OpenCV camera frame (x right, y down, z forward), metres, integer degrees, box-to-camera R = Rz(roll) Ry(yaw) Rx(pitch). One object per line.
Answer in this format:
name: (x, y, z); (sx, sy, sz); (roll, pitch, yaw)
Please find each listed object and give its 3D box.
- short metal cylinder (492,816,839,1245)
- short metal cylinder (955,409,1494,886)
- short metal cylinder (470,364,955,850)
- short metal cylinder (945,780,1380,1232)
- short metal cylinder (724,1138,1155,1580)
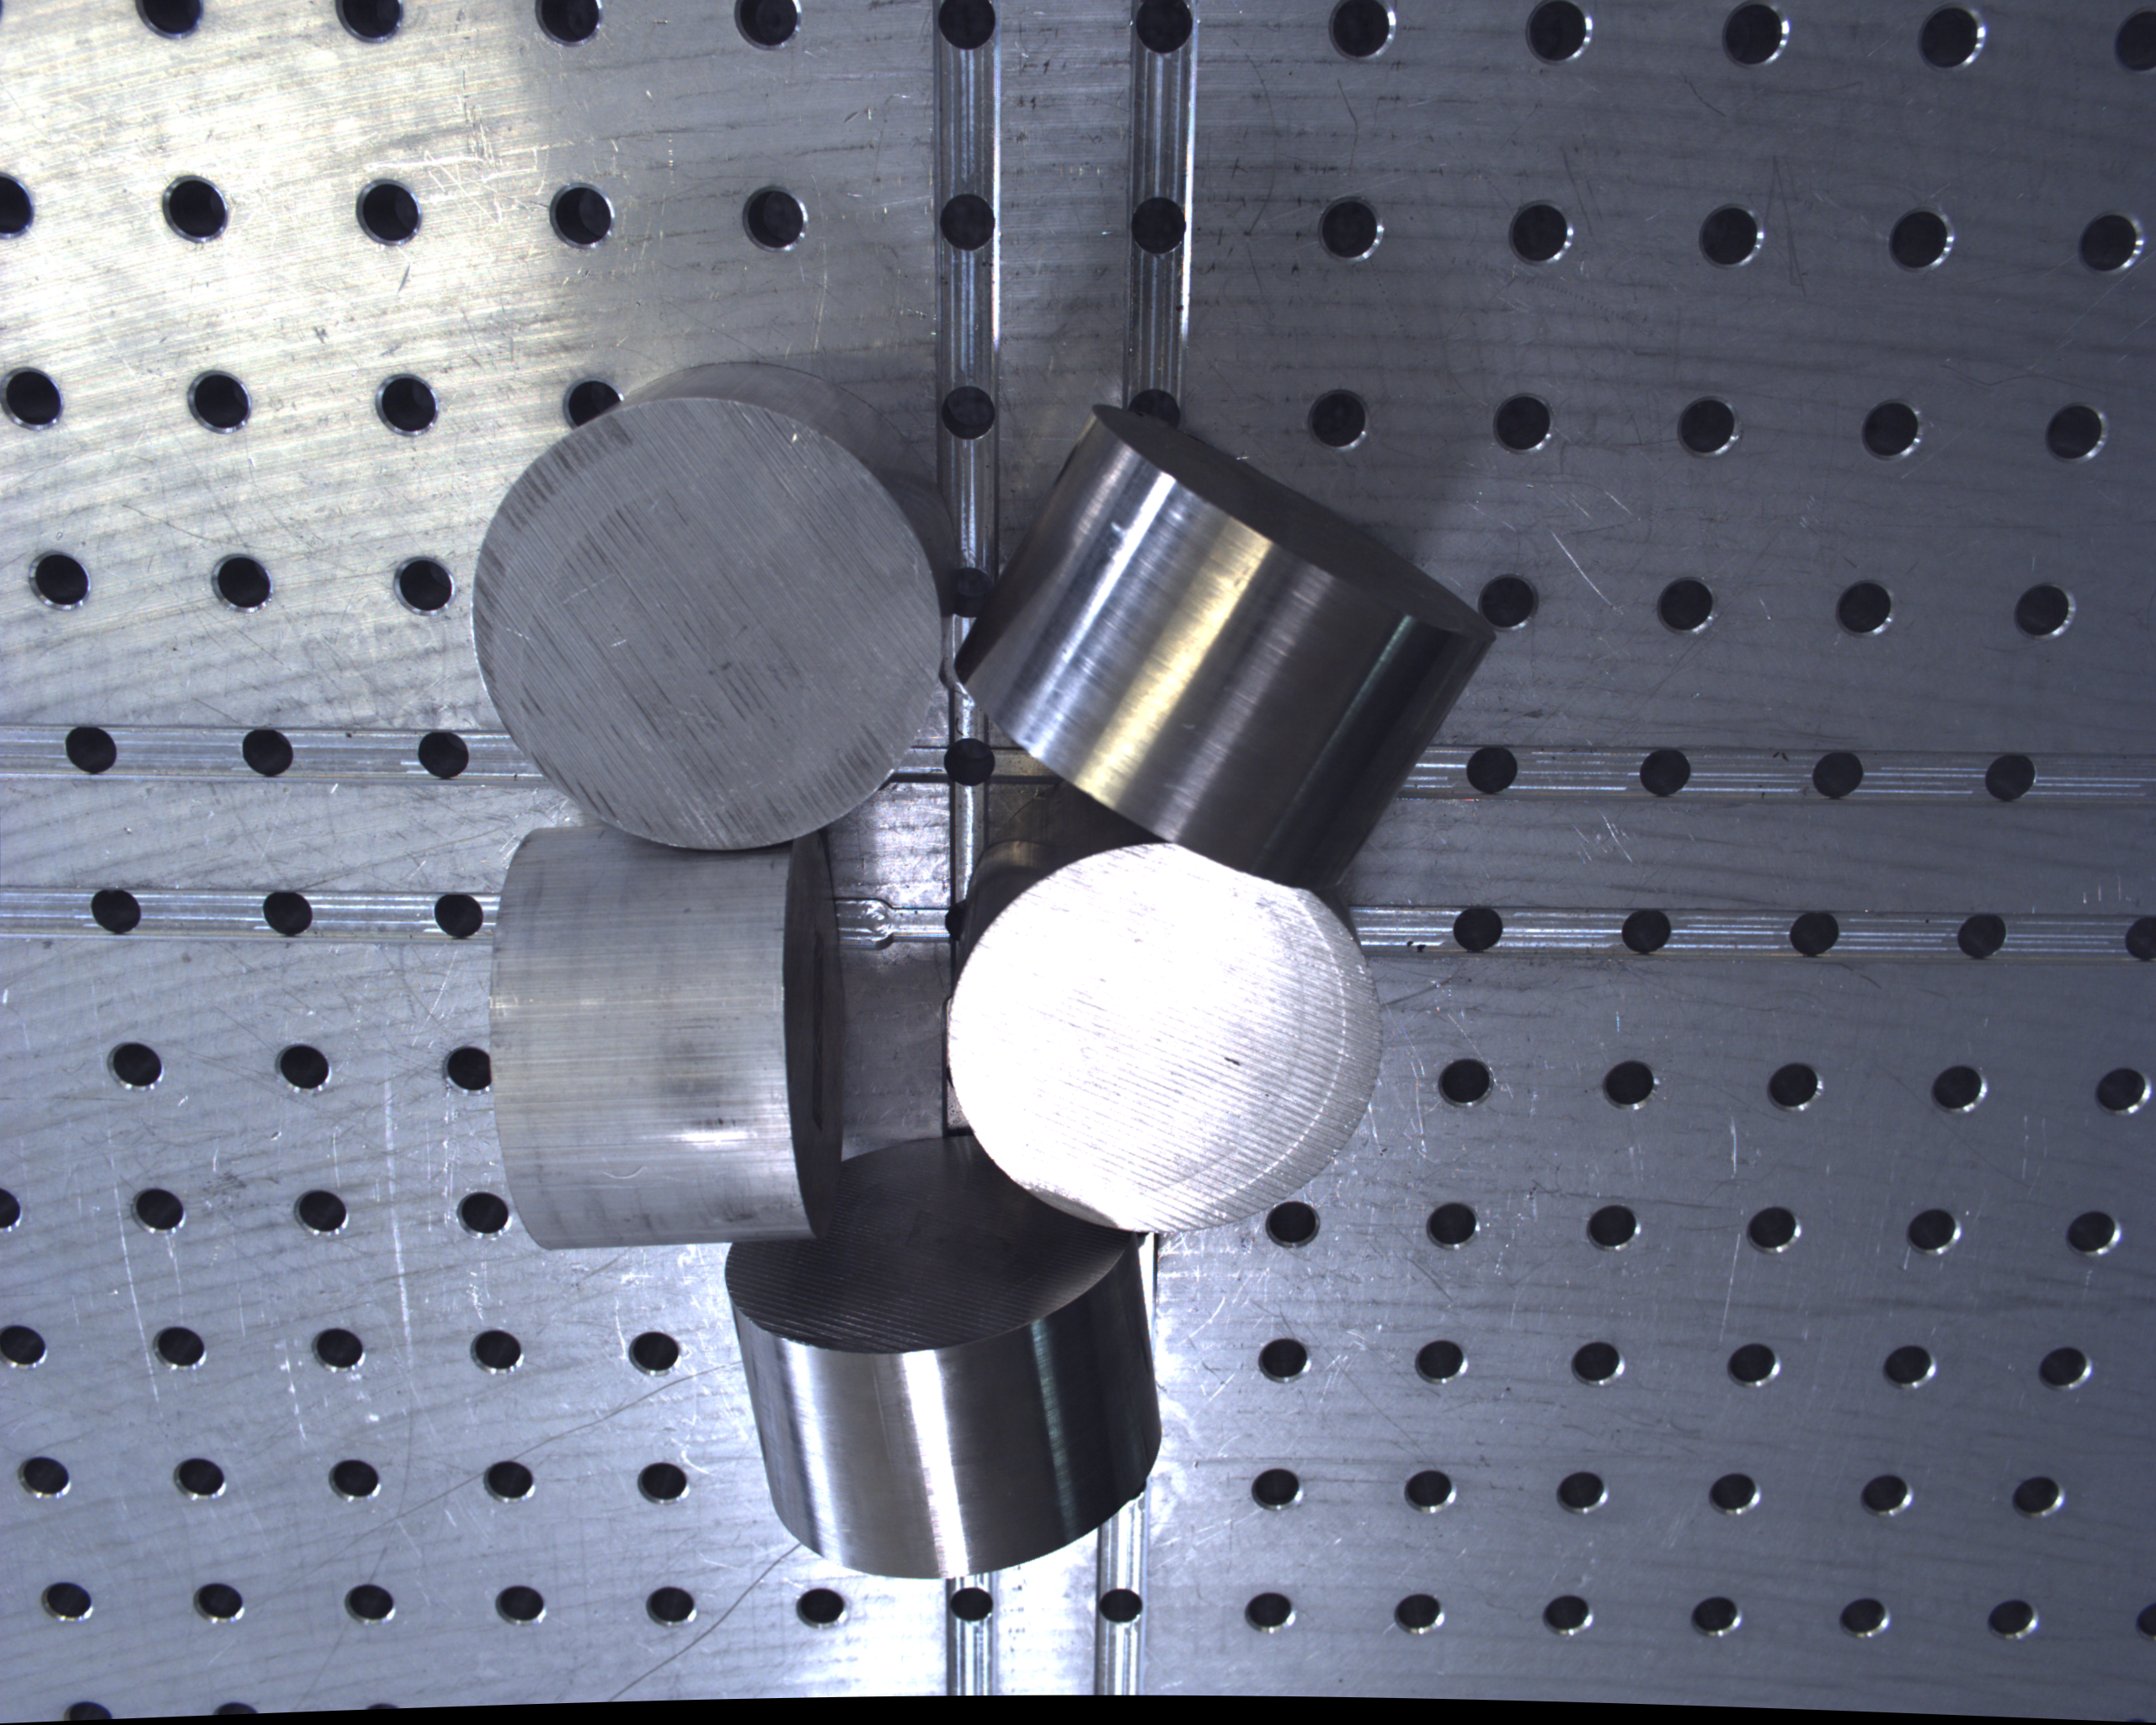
short metal cylinder: (-0.075, 0.031, 0.396); (0.050, 0.080, 0.079); (-2, 110, 0)
short metal cylinder: (0.025, -0.039, 0.370); (0.080, 0.080, 0.050); (27, 107, -10)
short metal cylinder: (-0.064, -0.048, 0.381); (0.080, 0.050, 0.079); (0, 110, 1)
short metal cylinder: (0.016, 0.025, 0.409); (0.081, 0.050, 0.079); (0, 111, -1)
short metal cylinder: (-0.026, 0.097, 0.419); (0.080, 0.080, 0.050); (-6, 111, 2)
